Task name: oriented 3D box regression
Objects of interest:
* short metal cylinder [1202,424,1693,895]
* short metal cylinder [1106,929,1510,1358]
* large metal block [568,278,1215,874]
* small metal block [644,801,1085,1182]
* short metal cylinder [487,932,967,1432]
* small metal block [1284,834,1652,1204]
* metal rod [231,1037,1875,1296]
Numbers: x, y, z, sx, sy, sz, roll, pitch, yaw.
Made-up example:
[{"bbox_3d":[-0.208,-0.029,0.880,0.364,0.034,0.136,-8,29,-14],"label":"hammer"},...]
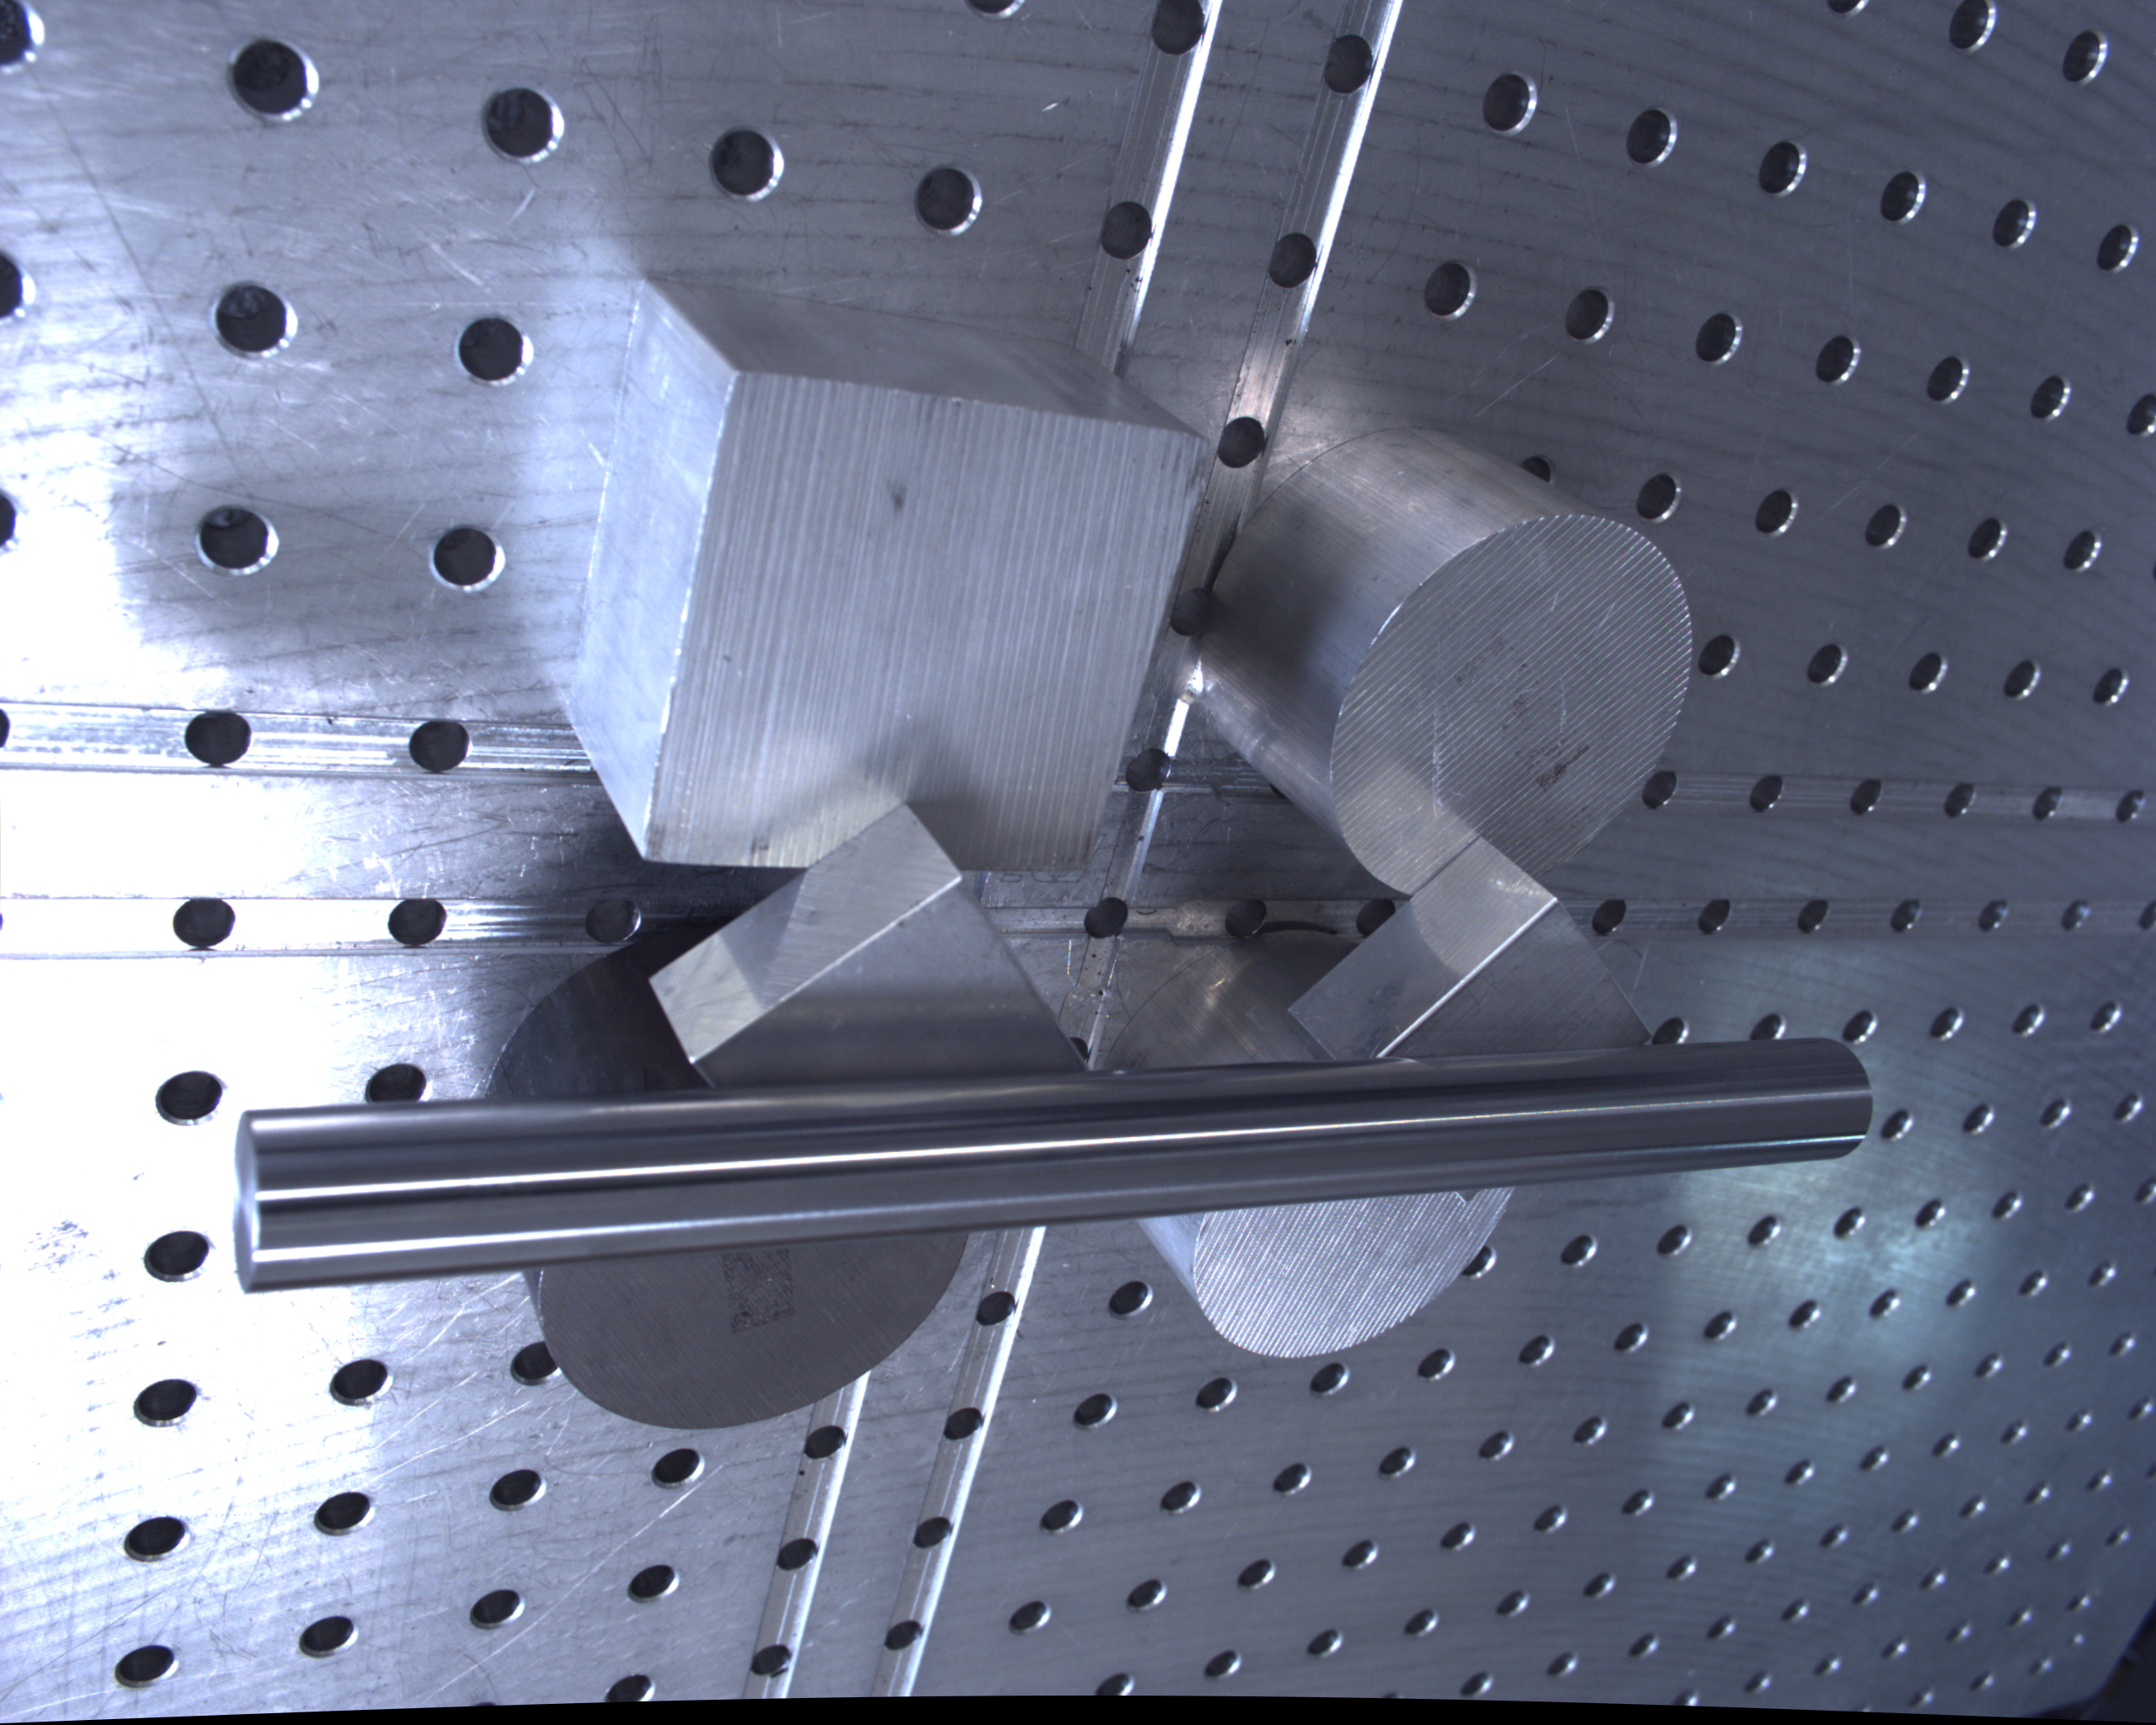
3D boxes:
[{"bbox_3d":[0.072,-0.040,0.409,0.081,0.050,0.079,-14,124,-21],"label":"short metal cylinder"},{"bbox_3d":[0.050,0.062,0.460,0.081,0.050,0.079,-14,124,-21],"label":"short metal cylinder"},{"bbox_3d":[-0.034,-0.045,0.348,0.081,0.050,0.079,1,118,-29],"label":"large metal block"},{"bbox_3d":[-0.034,0.027,0.344,0.050,0.025,0.050,-35,129,-6],"label":"small metal block"},{"bbox_3d":[-0.067,0.060,0.394,0.081,0.050,0.079,-14,124,-21],"label":"short metal cylinder"},{"bbox_3d":[0.077,0.031,0.408,0.050,0.025,0.050,-42,130,1],"label":"small metal block"},{"bbox_3d":[0.020,0.047,0.353,0.303,0.025,0.025,1,118,-29],"label":"metal rod"}]
